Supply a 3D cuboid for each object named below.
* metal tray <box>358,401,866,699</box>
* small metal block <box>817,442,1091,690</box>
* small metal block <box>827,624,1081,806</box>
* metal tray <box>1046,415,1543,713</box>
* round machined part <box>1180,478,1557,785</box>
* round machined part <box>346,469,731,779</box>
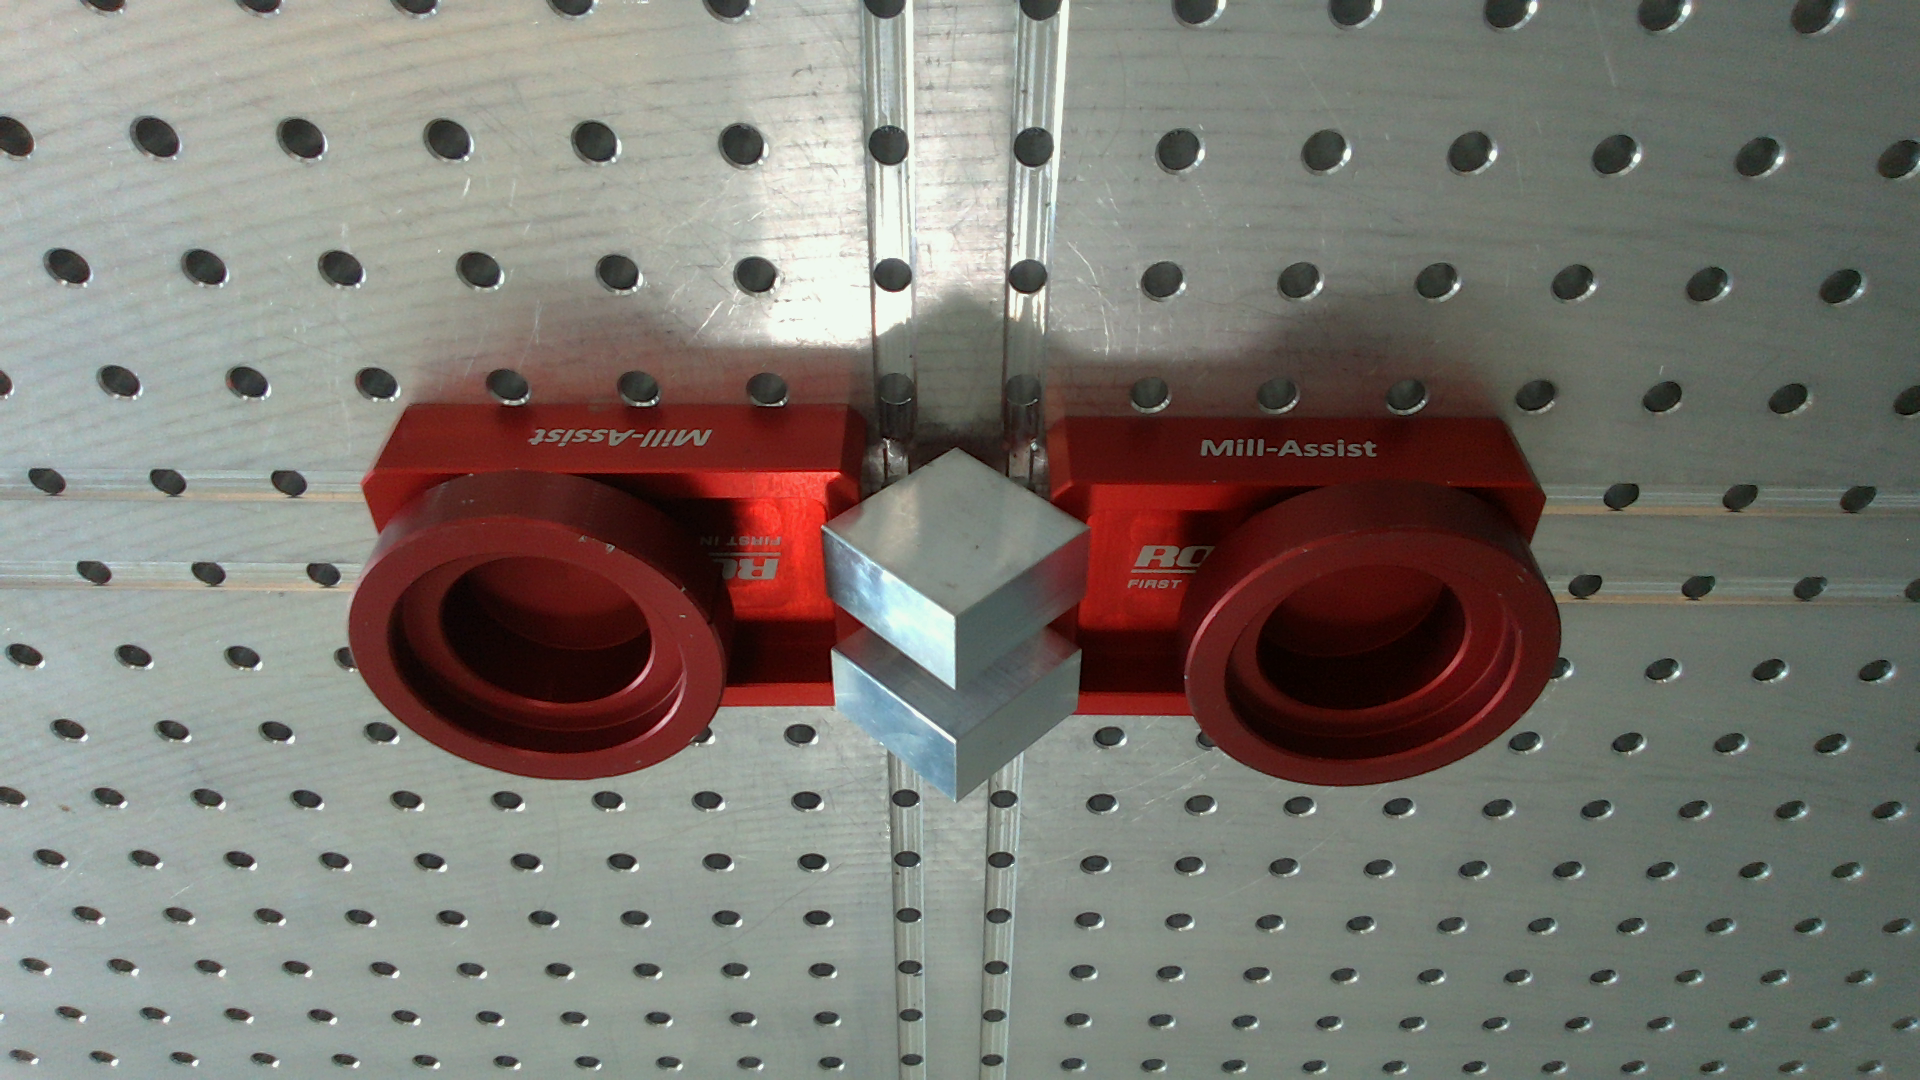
[{"bbox_3d":[-0.091,0.005,0.396,0.130,0.030,0.090,-1,132,0],"label":"metal tray"},{"bbox_3d":[-0.002,0.005,0.363,0.050,0.050,0.025,33,139,32],"label":"small metal block"},{"bbox_3d":[-0.002,0.040,0.391,0.050,0.050,0.025,33,139,32],"label":"small metal block"},{"bbox_3d":[0.089,0.009,0.399,0.130,0.030,0.090,0,130,-1],"label":"metal tray"},{"bbox_3d":[0.110,0.021,0.384,0.098,0.042,0.098,0,130,0],"label":"round machined part"},{"bbox_3d":[-0.112,0.019,0.381,0.098,0.042,0.098,0,130,0],"label":"round machined part"}]
